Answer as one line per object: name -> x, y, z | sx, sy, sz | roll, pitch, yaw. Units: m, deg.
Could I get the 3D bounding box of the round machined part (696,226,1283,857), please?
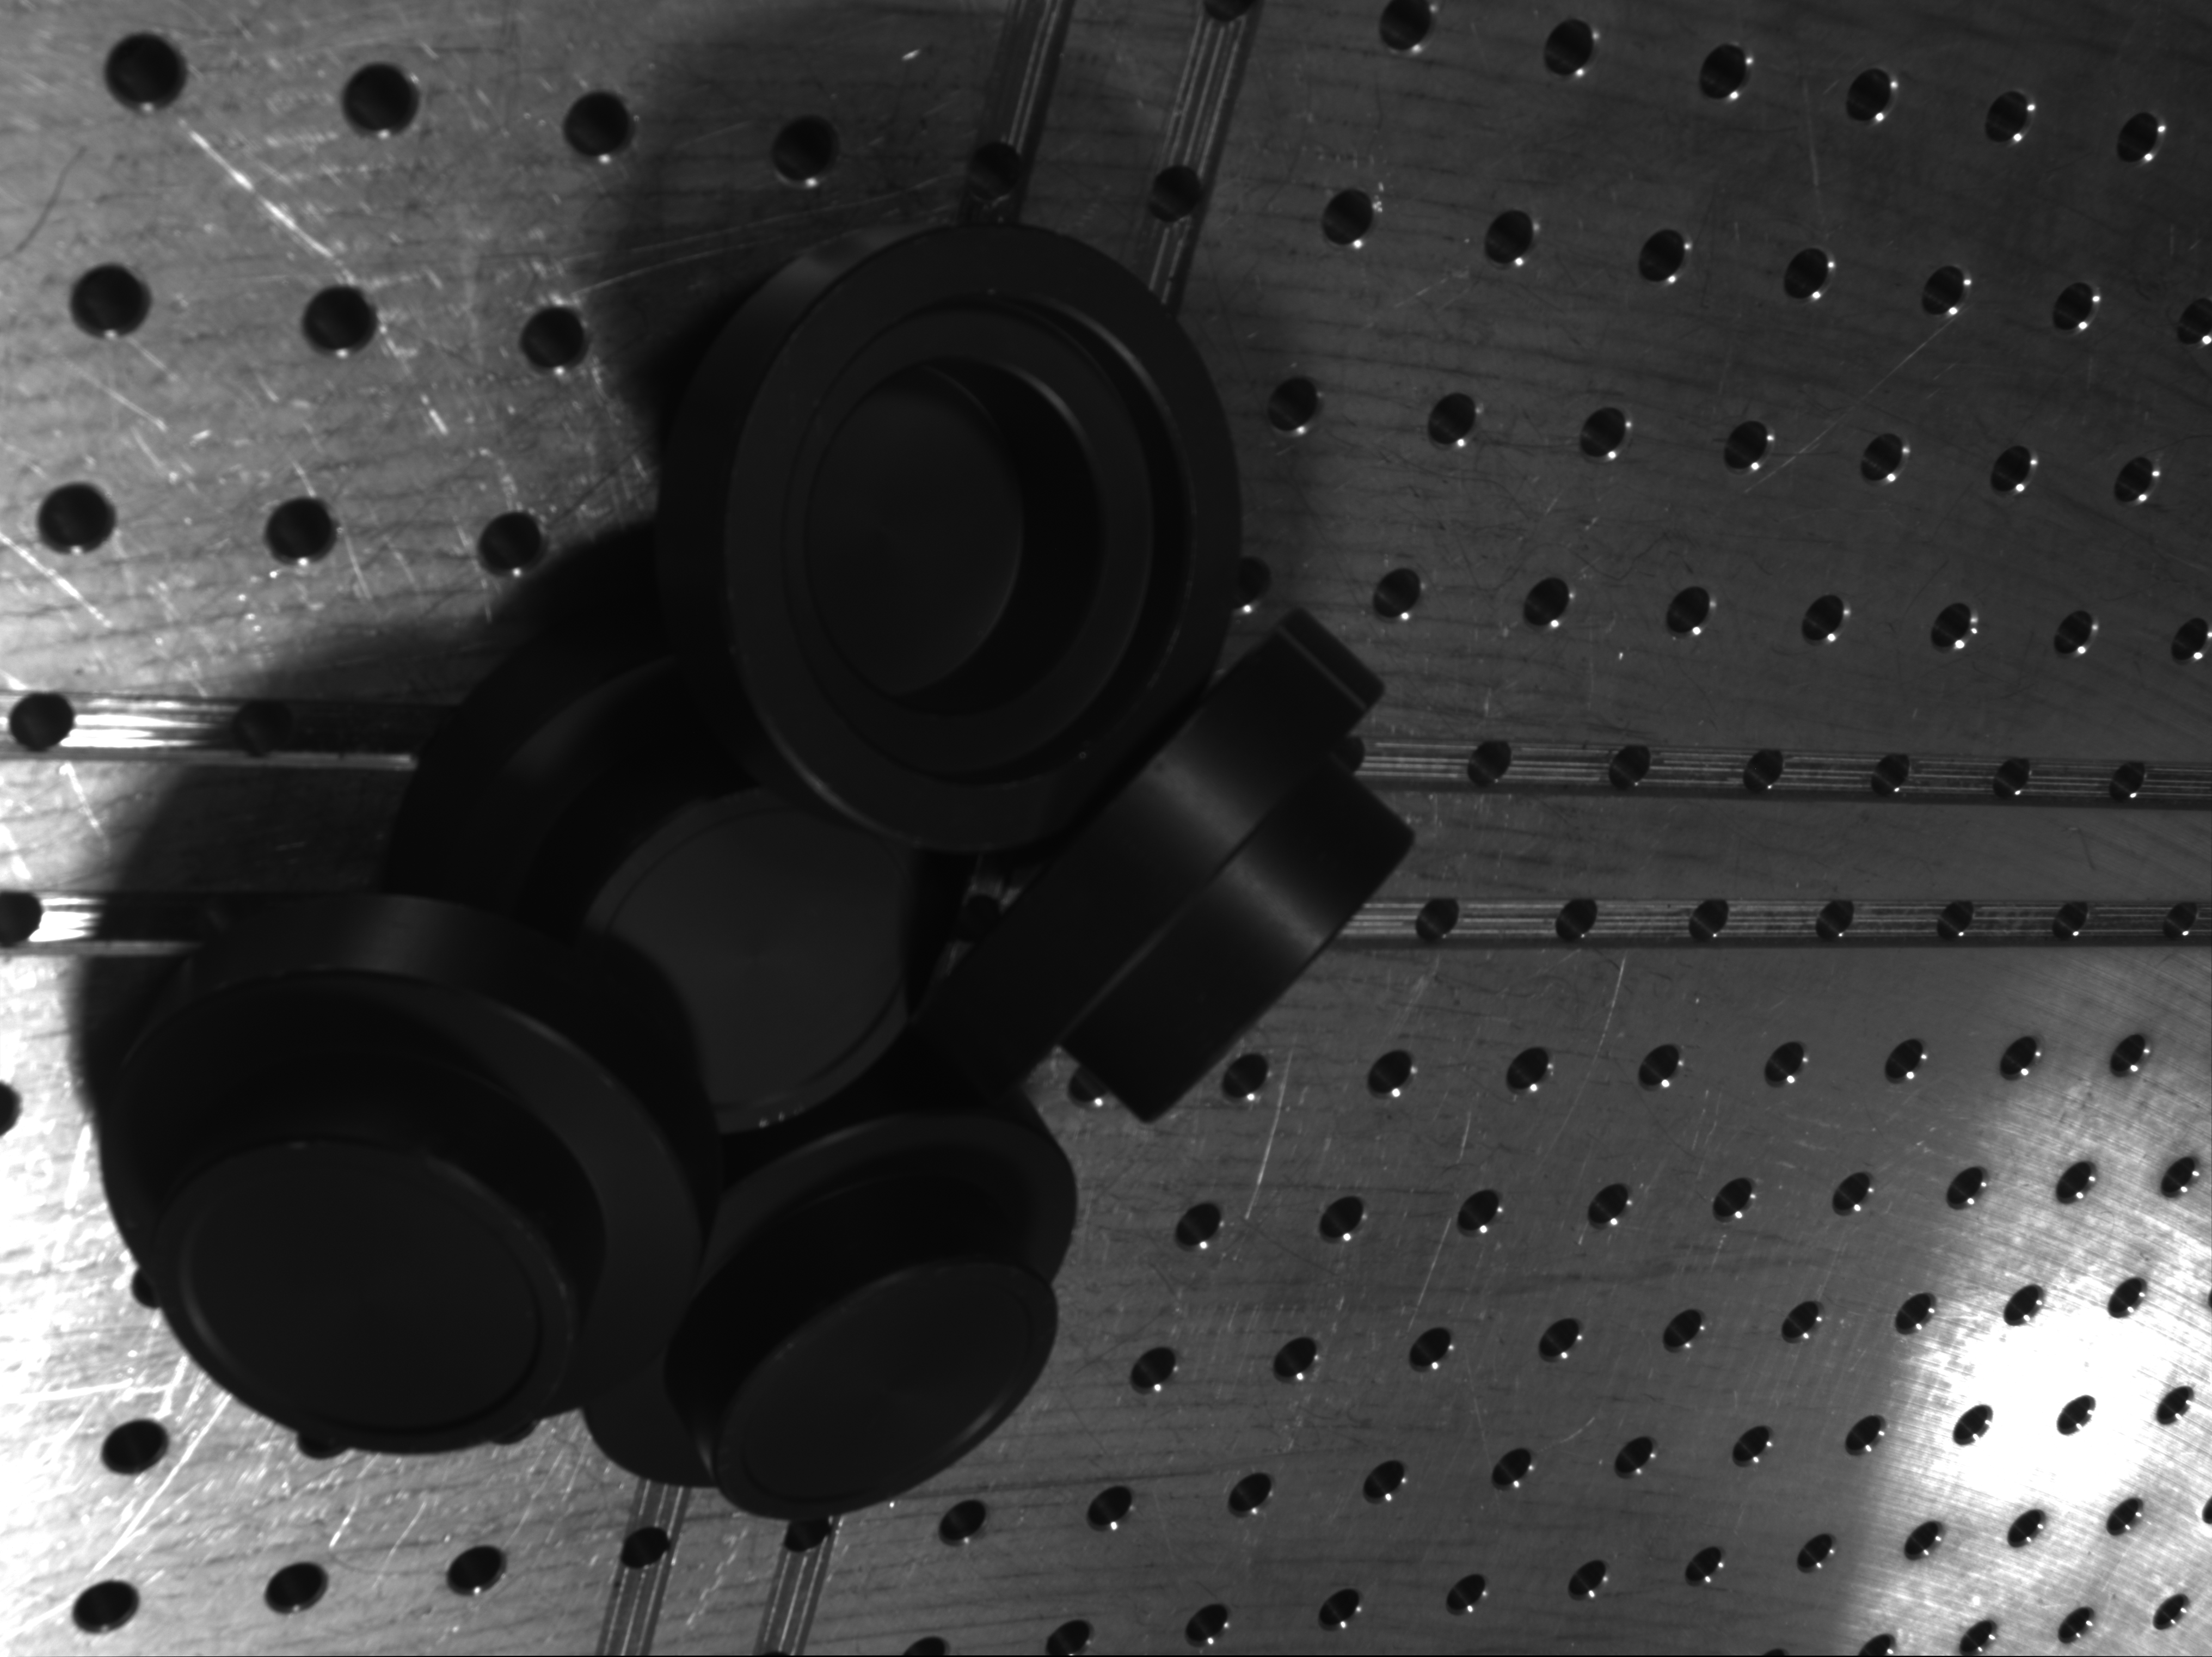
round machined part -> -0.023, -0.047, 0.586 | 0.098, 0.042, 0.098 | -6, 101, -34

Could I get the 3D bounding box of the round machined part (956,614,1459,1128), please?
round machined part -> 0.022, 0.013, 0.625 | 0.042, 0.098, 0.098 | 43, 93, 1

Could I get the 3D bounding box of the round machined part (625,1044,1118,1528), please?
round machined part -> -0.041, 0.087, 0.657 | 0.098, 0.042, 0.098 | -21, 140, -19

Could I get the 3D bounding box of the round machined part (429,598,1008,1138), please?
round machined part -> -0.060, 0.013, 0.614 | 0.098, 0.042, 0.098 | -15, 125, -22

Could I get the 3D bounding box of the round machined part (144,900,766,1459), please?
round machined part -> -0.107, 0.063, 0.588 | 0.098, 0.042, 0.098 | 3, 126, 5
